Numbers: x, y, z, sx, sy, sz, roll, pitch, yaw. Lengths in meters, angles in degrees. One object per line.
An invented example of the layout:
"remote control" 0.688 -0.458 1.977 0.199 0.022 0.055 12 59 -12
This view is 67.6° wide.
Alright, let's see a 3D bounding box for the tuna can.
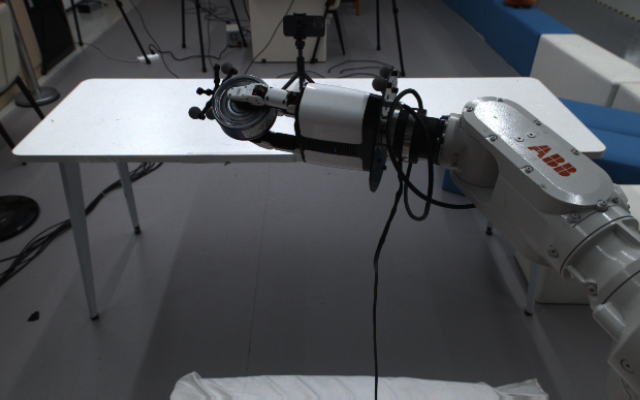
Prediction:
"tuna can" -0.100 -0.123 0.662 0.085 0.034 0.085 -1 74 4
